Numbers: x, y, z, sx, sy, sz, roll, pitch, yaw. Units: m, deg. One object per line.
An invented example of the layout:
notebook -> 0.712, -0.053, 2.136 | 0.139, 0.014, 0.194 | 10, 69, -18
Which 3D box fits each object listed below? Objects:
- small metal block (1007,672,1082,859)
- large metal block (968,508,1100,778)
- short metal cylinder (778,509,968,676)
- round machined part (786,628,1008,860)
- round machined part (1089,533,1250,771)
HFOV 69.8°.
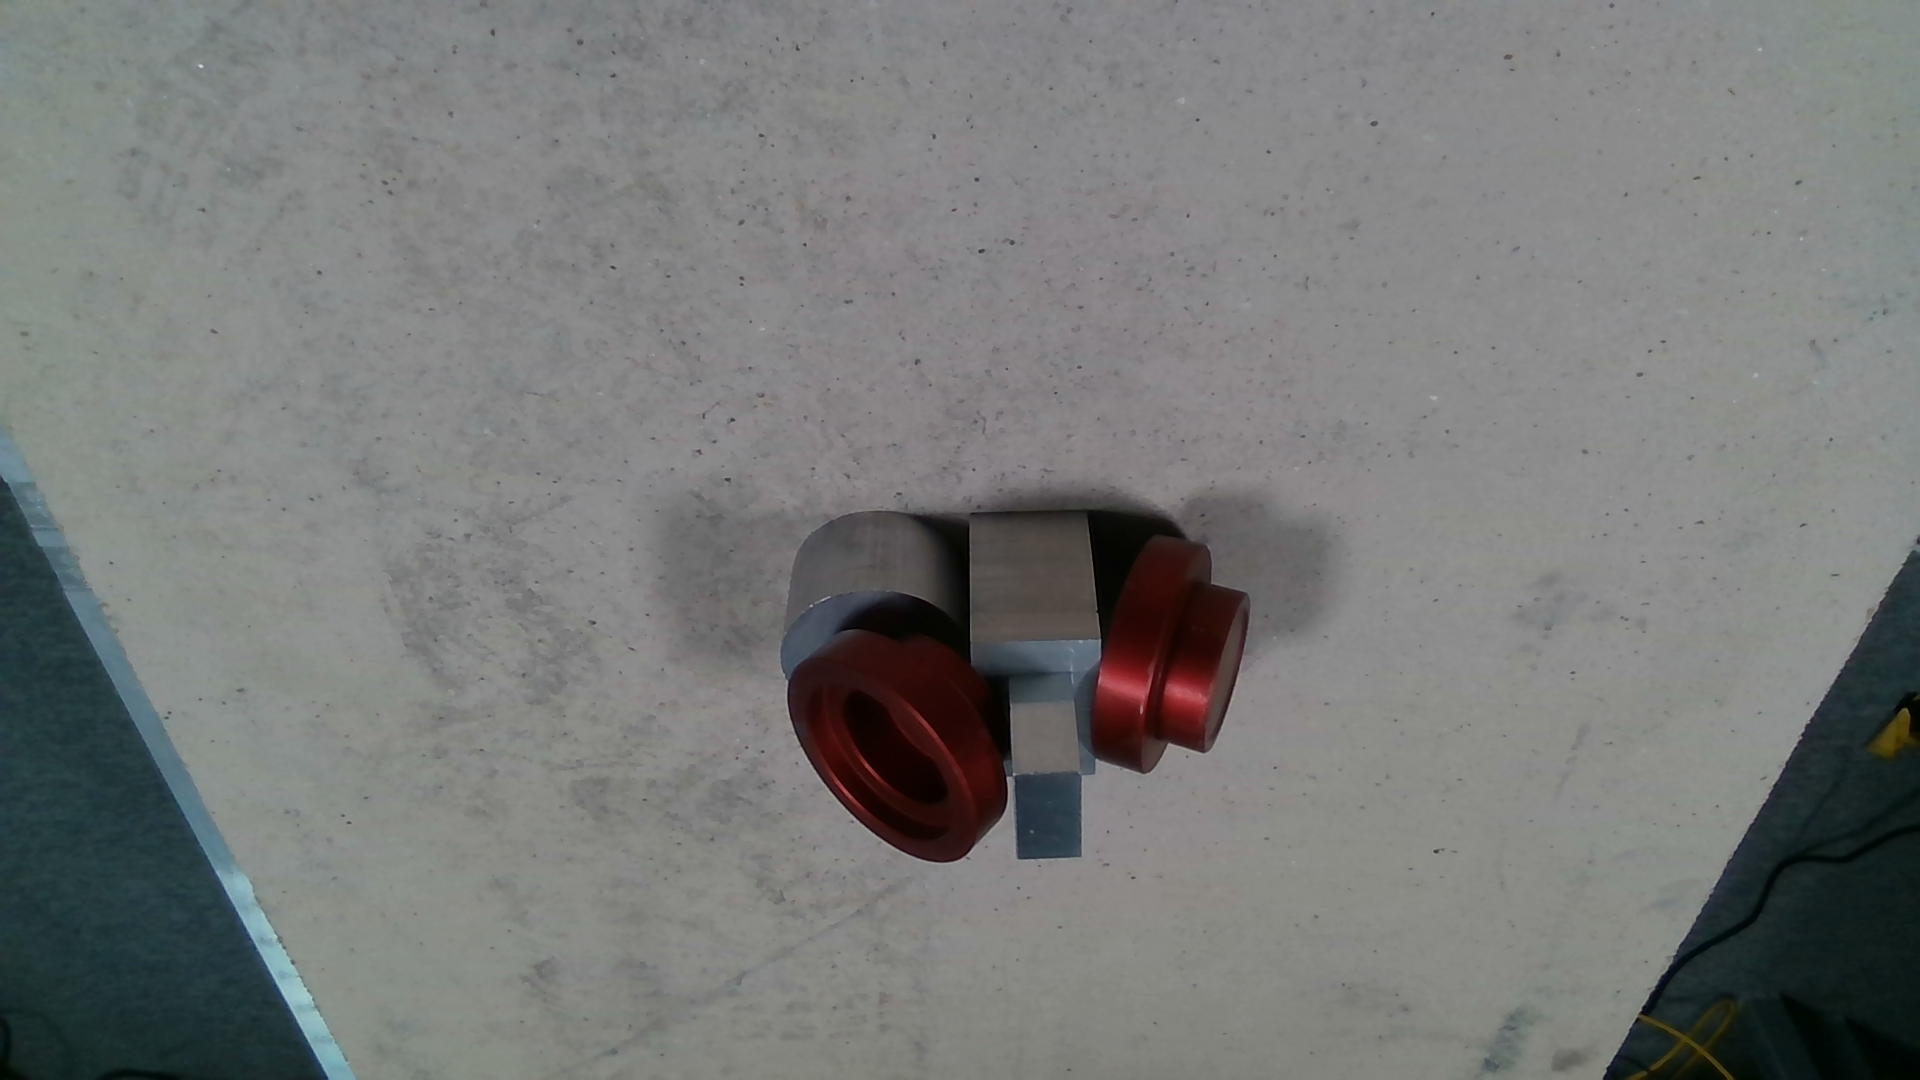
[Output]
small metal block -> 0.032, 0.087, 0.531 | 0.025, 0.050, 0.050 | -2, 130, 1
large metal block -> 0.030, 0.044, 0.579 | 0.050, 0.080, 0.080 | -2, 130, 1
short metal cylinder -> -0.036, 0.033, 0.592 | 0.080, 0.050, 0.080 | 0, 130, 0
round machined part -> -0.020, 0.075, 0.545 | 0.098, 0.042, 0.098 | 28, 138, 28
round machined part -> 0.090, 0.049, 0.568 | 0.042, 0.098, 0.098 | 15, 133, 20
